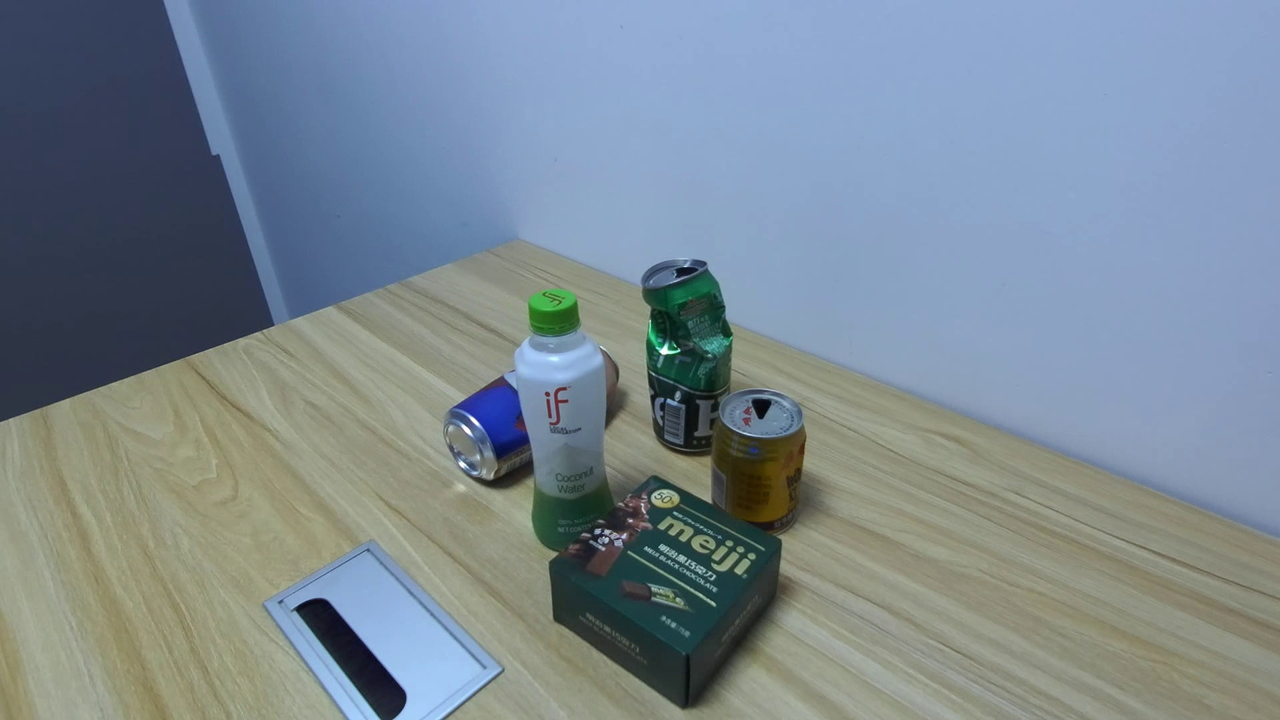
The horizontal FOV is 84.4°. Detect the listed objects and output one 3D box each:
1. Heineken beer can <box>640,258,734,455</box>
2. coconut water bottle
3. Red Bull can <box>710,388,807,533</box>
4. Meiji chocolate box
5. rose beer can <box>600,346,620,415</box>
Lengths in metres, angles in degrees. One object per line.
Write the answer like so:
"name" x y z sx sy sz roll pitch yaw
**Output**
"Heineken beer can" 0.043 -0.002 0.586 0.078 0.159 0.067 1 26 20
"coconut water bottle" -0.052 0.044 0.486 0.063 0.189 0.063 -2 31 1
"Red Bull can" 0.086 0.075 0.518 0.069 0.092 0.069 0 31 0
"Meiji chocolate box" 0.018 0.142 0.453 0.109 0.056 0.109 22 39 33
"rose beer can" -0.089 0.040 0.611 0.069 0.069 0.168 -5 21 47
